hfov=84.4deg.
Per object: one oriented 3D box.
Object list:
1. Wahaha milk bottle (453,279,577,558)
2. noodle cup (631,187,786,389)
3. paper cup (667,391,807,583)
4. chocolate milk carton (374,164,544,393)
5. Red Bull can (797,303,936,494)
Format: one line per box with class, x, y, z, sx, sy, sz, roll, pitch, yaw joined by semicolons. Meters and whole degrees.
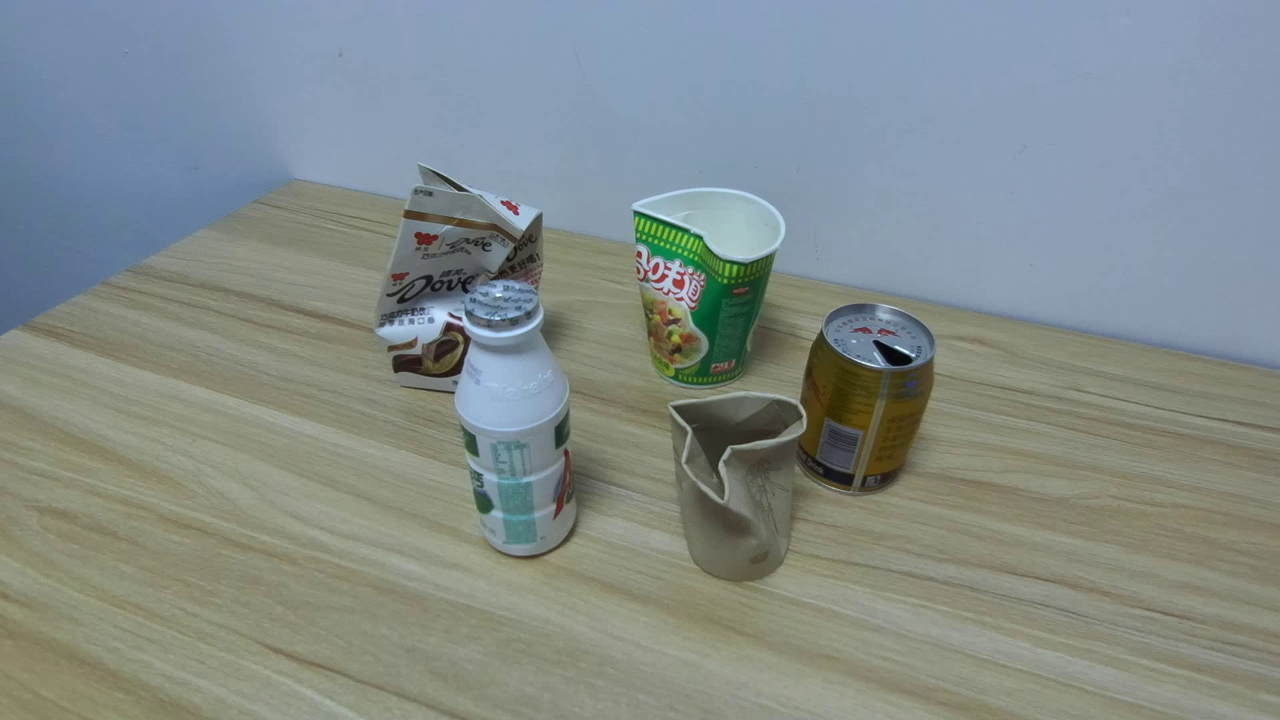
Wahaha milk bottle;-0.060;0.033;0.343;0.053;0.147;0.053;0;36;1
noodle cup;0.046;-0.043;0.466;0.087;0.109;0.093;-11;40;-15
paper cup;0.051;0.067;0.349;0.066;0.083;0.058;-7;41;-6
chocolate milk carton;-0.111;-0.051;0.450;0.089;0.155;0.076;15;44;-4
Red Bull can;0.126;0.022;0.401;0.068;0.093;0.068;0;39;0
